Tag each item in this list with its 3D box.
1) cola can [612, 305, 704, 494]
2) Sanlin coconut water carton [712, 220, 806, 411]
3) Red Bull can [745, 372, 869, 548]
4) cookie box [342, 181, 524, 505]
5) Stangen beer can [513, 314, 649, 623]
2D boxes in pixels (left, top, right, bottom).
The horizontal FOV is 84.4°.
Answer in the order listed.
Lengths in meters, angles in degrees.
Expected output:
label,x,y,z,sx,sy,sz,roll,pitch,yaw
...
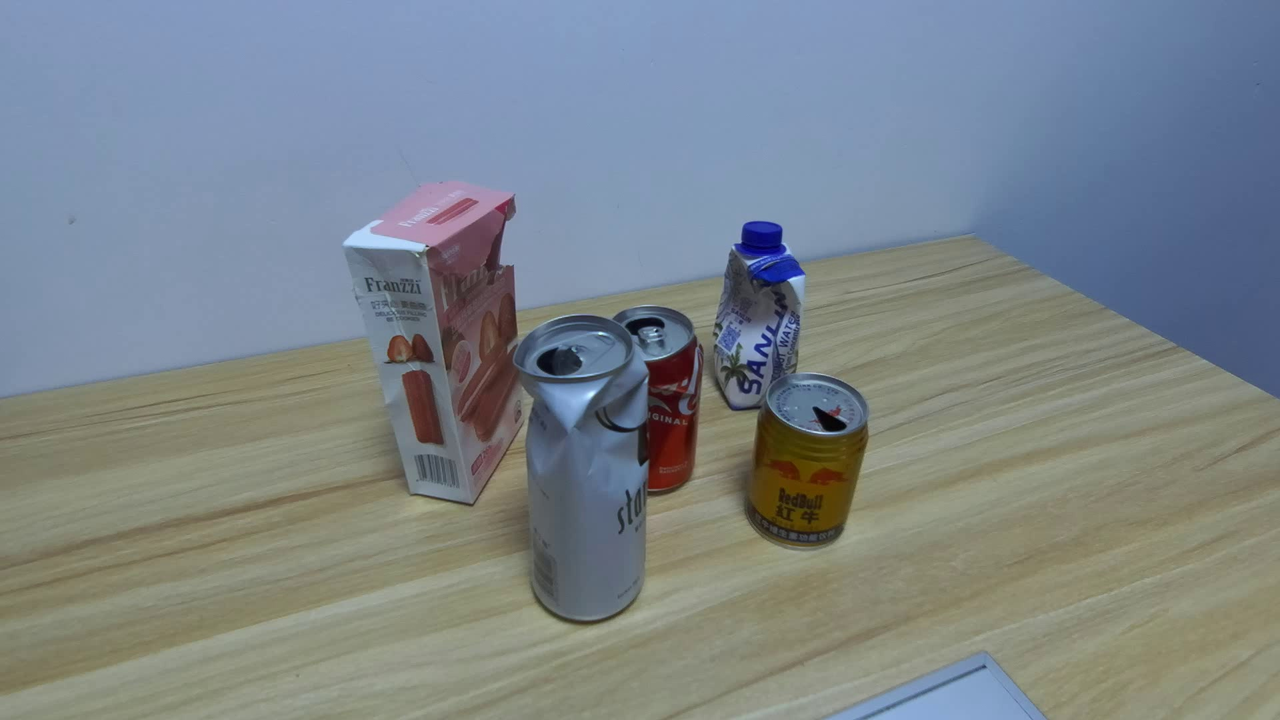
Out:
label,x,y,z,sx,sy,sz,roll,pitch,yaw
cola can,0.009,0.027,0.470,0.072,0.117,0.065,17,35,23
Sanlin coconut water carton,0.087,-0.027,0.527,0.057,0.145,0.068,-10,42,-5
Red Bull can,0.103,0.063,0.439,0.067,0.093,0.067,3,33,-1
cookie box,-0.121,-0.007,0.454,0.059,0.186,0.105,11,34,13
Stangen beer can,-0.030,0.062,0.373,0.065,0.166,0.066,25,41,34
